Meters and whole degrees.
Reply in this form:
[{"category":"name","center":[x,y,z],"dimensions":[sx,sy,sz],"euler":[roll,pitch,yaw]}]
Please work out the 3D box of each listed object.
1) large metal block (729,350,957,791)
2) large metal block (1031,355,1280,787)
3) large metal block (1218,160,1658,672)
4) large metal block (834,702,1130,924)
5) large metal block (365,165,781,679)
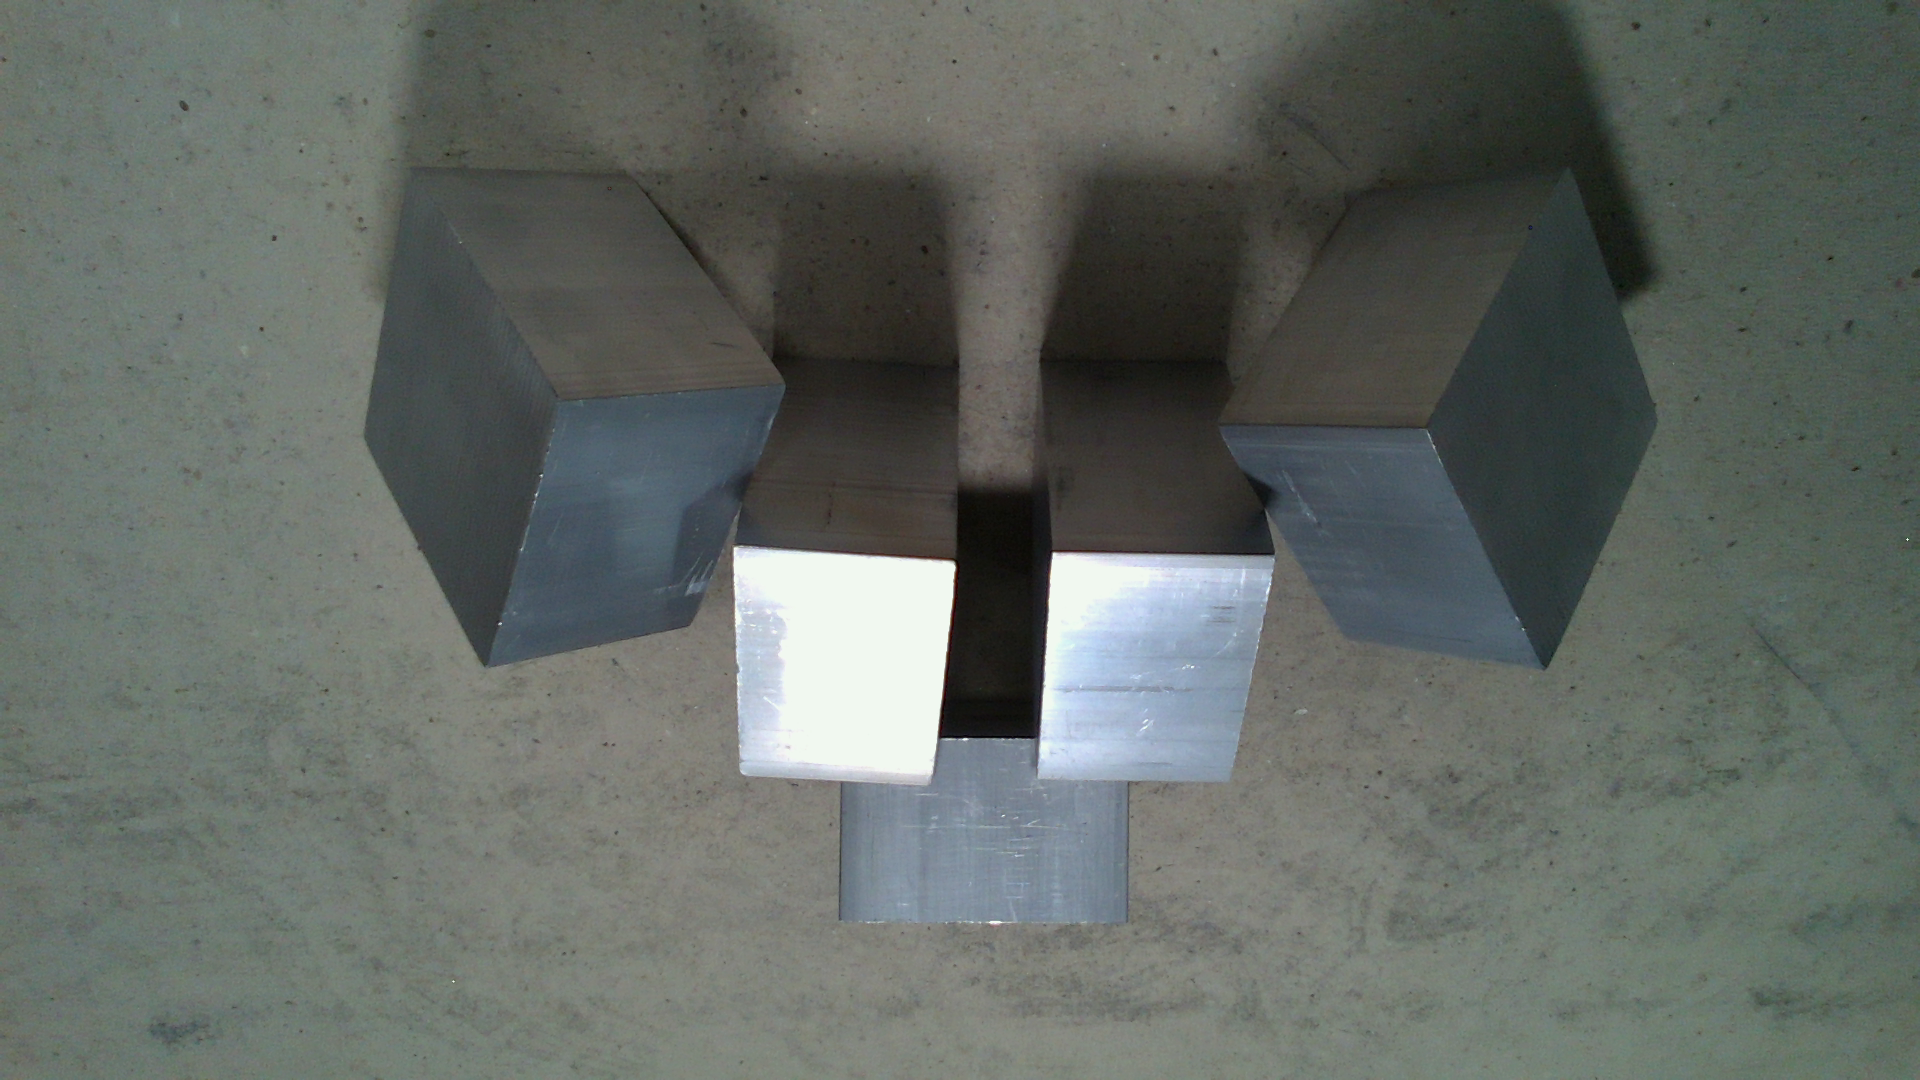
[{"category":"large metal block","center":[-0.029,0.007,0.361],"dimensions":[0.050,0.080,0.080],"euler":[4,130,-3]},{"category":"large metal block","center":[0.046,0.007,0.362],"dimensions":[0.050,0.080,0.080],"euler":[1,130,0]},{"category":"large metal block","center":[0.116,-0.028,0.323],"dimensions":[0.050,0.080,0.080],"euler":[6,143,47]},{"category":"large metal block","center":[0.006,0.078,0.413],"dimensions":[0.080,0.080,0.050],"euler":[1,91,0]},{"category":"large metal block","center":[-0.094,-0.029,0.318],"dimensions":[0.050,0.080,0.080],"euler":[-11,141,-40]}]
